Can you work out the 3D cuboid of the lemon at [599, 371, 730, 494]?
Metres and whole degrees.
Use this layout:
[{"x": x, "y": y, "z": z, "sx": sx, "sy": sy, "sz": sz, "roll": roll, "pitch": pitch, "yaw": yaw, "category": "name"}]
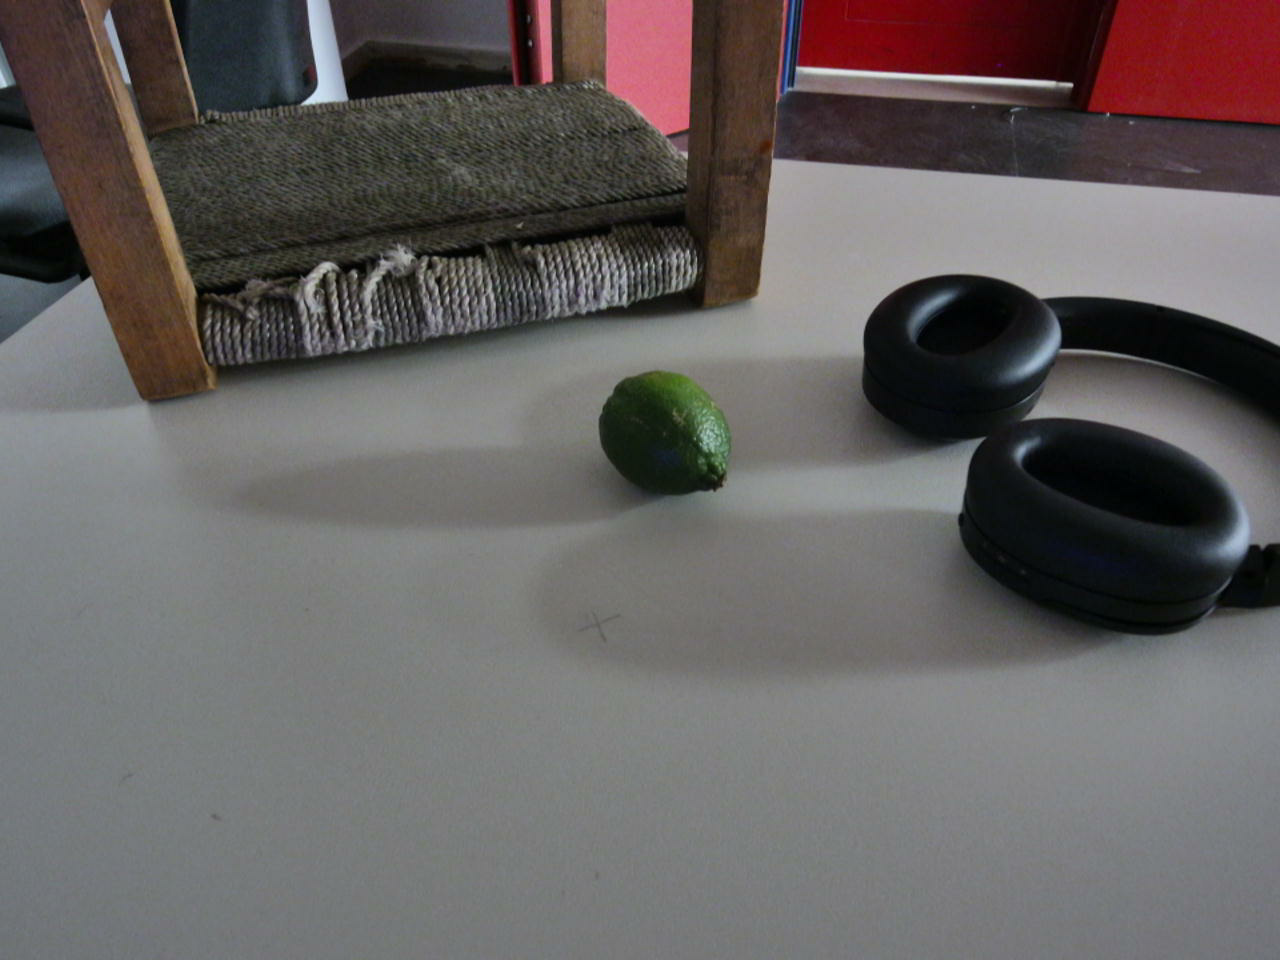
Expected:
[{"x": 0.011, "y": -0.022, "z": 0.434, "sx": 0.057, "sy": 0.051, "sz": 0.054, "roll": 7, "pitch": 39, "yaw": 8, "category": "lemon"}]
